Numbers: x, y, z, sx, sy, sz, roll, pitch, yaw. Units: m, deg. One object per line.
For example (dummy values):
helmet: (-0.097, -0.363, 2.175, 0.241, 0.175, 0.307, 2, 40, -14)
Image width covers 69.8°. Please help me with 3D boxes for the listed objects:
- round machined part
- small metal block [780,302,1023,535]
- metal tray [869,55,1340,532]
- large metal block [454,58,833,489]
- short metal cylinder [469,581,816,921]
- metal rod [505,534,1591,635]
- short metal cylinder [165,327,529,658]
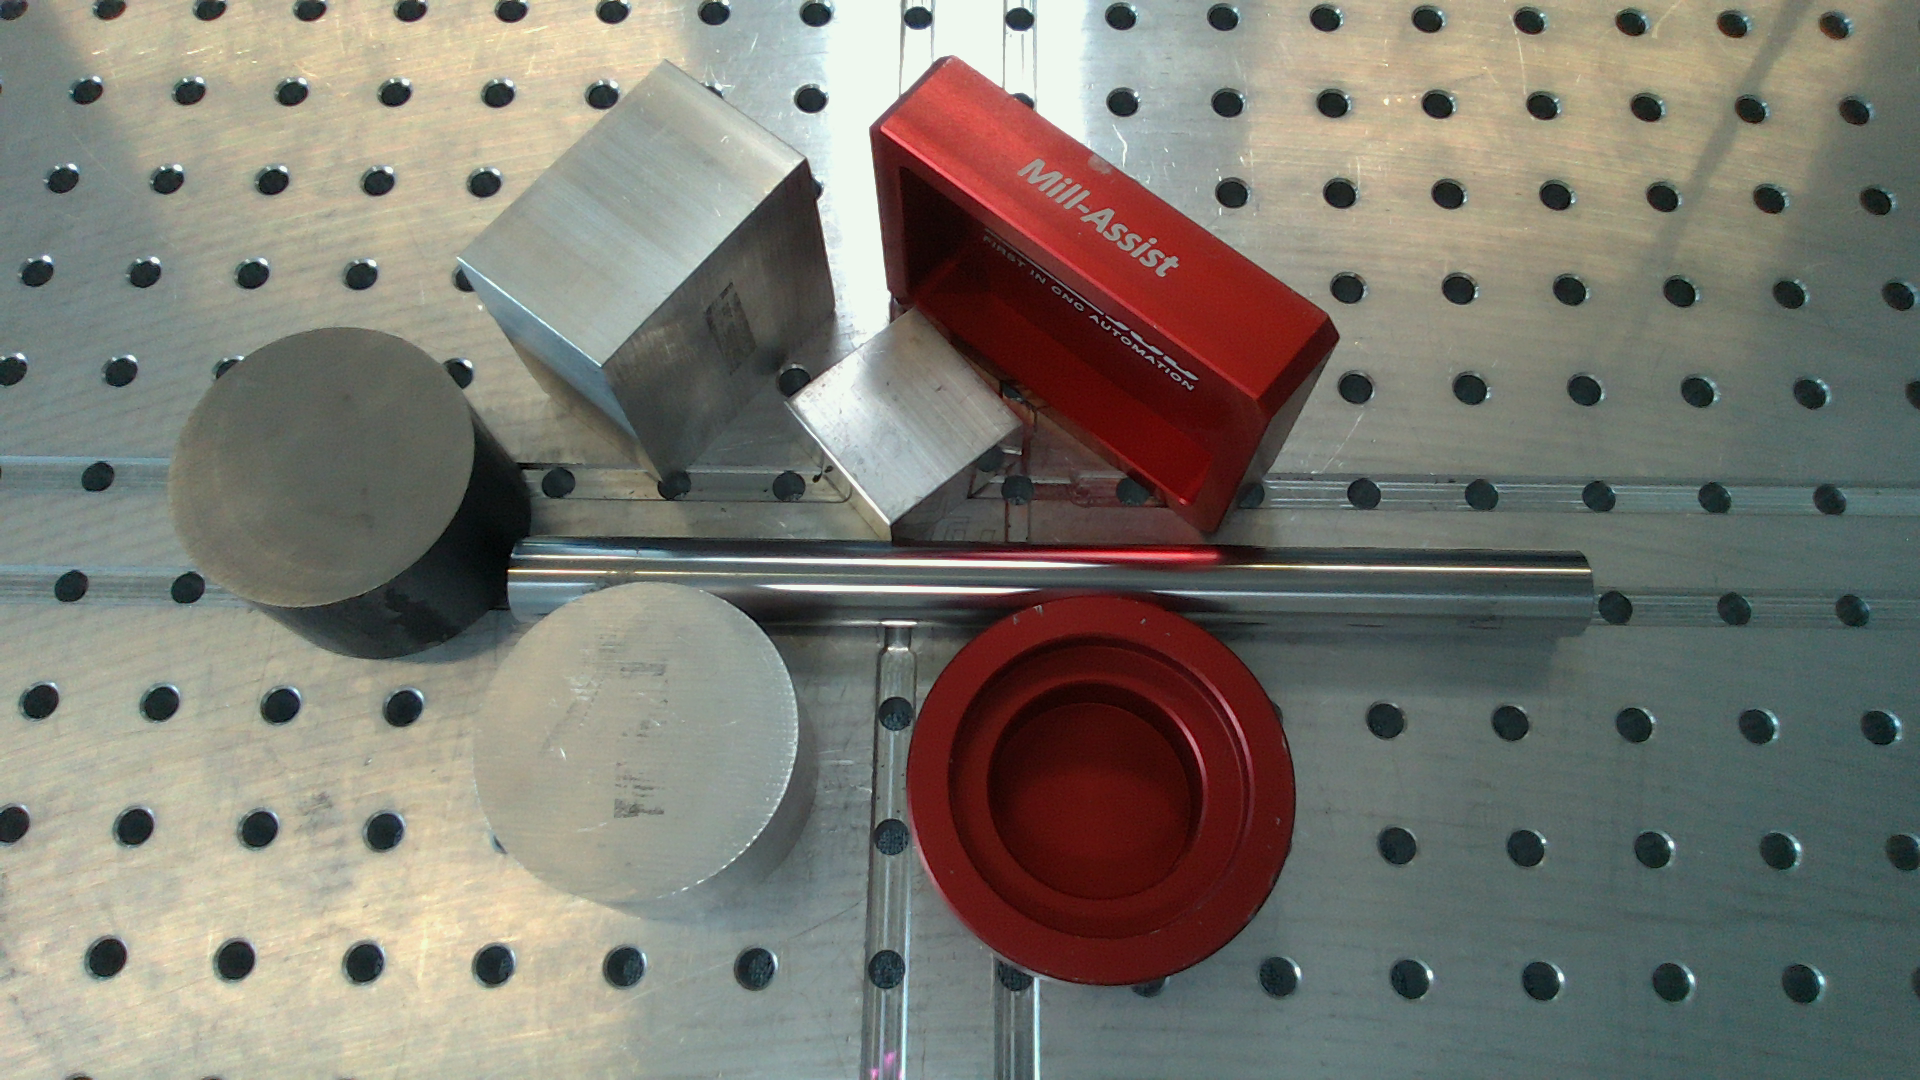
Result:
round machined part: (0.035, 0.067, 0.364, 0.098, 0.042, 0.098, 0, 70, 0)
small metal block: (-0.017, -0.034, 0.410, 0.050, 0.025, 0.050, -37, 74, -13)
metal tray: (0.035, -0.065, 0.386, 0.130, 0.090, 0.030, 38, 75, 13)
large metal block: (-0.085, -0.073, 0.394, 0.050, 0.080, 0.080, 37, 74, 12)
short metal cylinder: (-0.080, 0.057, 0.362, 0.080, 0.050, 0.080, 0, 70, 0)
metal rod: (0.024, 0.013, 0.392, 0.300, 0.025, 0.025, 1, 70, 0)
short metal cylinder: (-0.169, -0.012, 0.387, 0.080, 0.050, 0.080, 0, 70, 0)
